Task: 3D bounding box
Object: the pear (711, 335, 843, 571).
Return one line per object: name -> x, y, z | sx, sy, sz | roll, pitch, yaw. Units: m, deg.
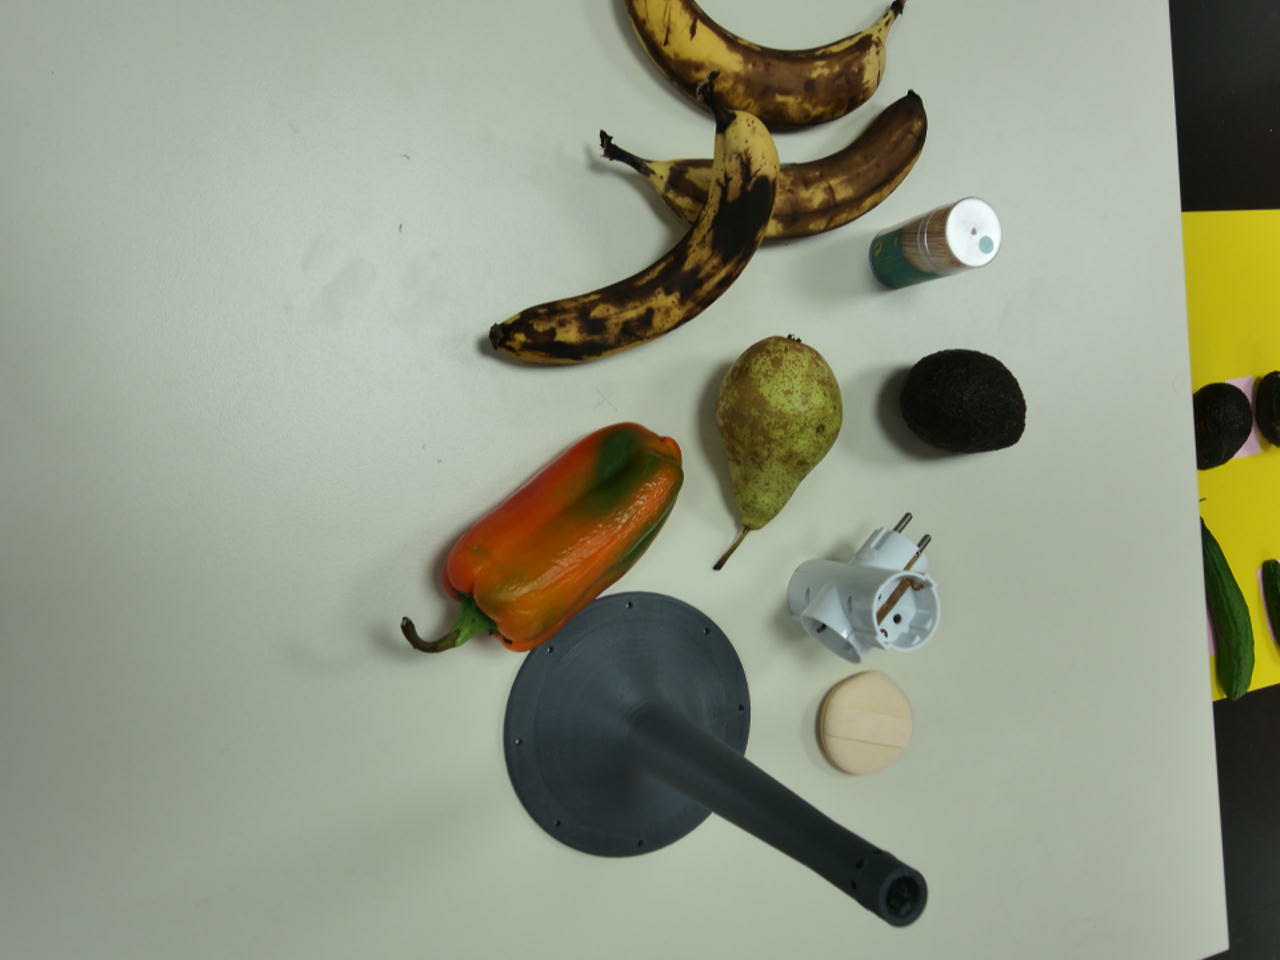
pear -> 0.082, -0.018, 0.571 | 0.071, 0.075, 0.128 | -13, 96, -22
